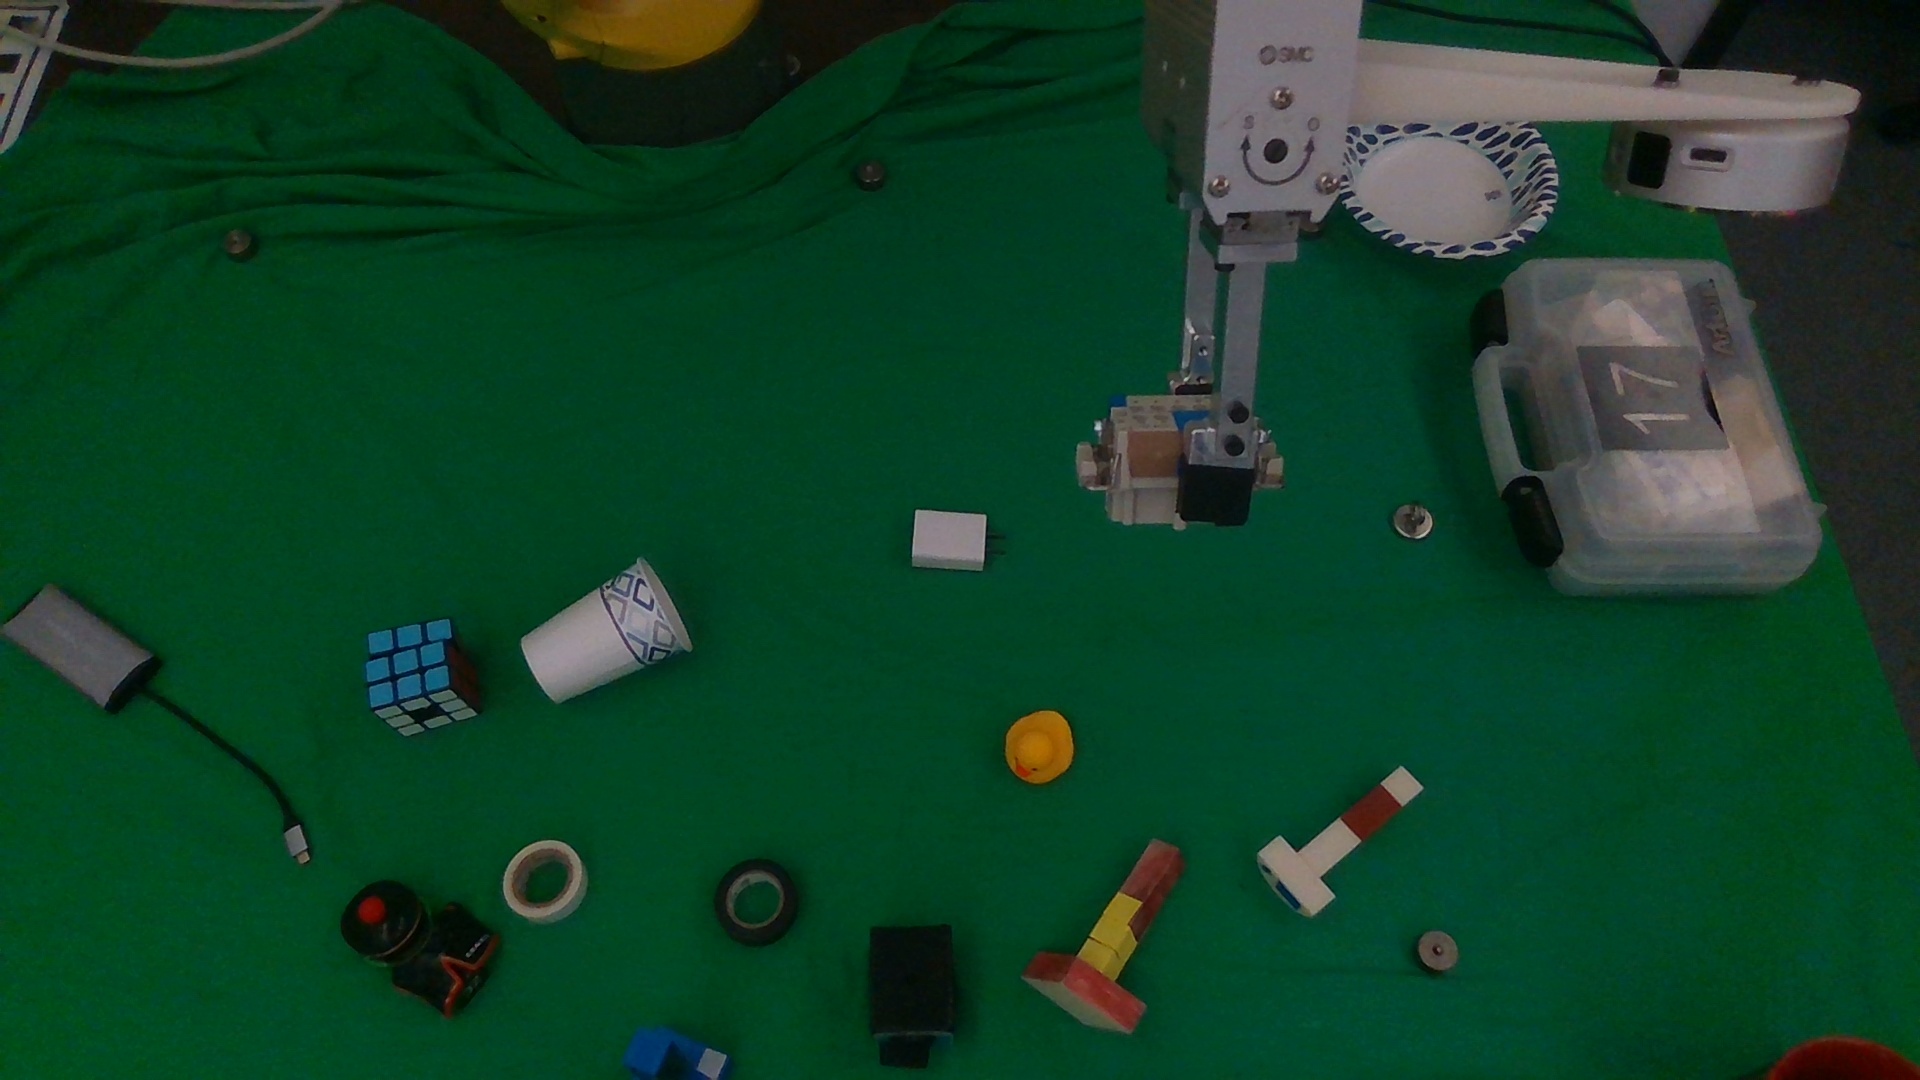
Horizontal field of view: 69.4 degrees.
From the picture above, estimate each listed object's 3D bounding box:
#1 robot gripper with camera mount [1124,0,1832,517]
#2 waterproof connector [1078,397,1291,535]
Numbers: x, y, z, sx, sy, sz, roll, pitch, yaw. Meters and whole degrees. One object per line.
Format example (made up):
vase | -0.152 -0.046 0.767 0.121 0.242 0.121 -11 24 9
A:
robot gripper with camera mount | 0.154 -0.093 0.425 0.193 0.158 0.119 -2 24 -4
waterproof connector | 0.071 -0.023 0.447 0.065 0.037 0.035 -2 29 0
